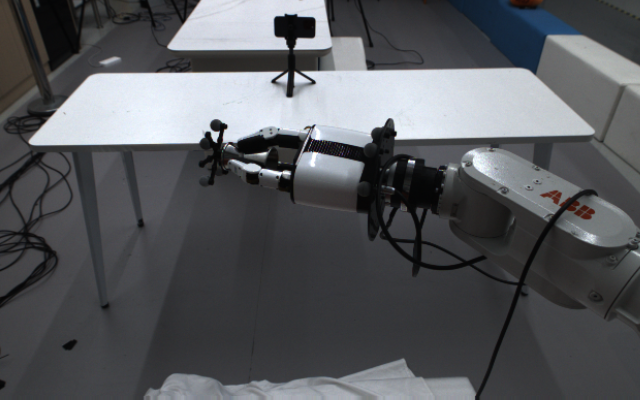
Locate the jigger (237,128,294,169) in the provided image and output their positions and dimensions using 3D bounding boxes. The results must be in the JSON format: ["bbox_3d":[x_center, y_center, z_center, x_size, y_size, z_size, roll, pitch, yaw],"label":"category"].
[{"bbox_3d":[-0.091,-0.058,0.670,0.071,0.043,0.043,11,36,15],"label":"jigger"}]
